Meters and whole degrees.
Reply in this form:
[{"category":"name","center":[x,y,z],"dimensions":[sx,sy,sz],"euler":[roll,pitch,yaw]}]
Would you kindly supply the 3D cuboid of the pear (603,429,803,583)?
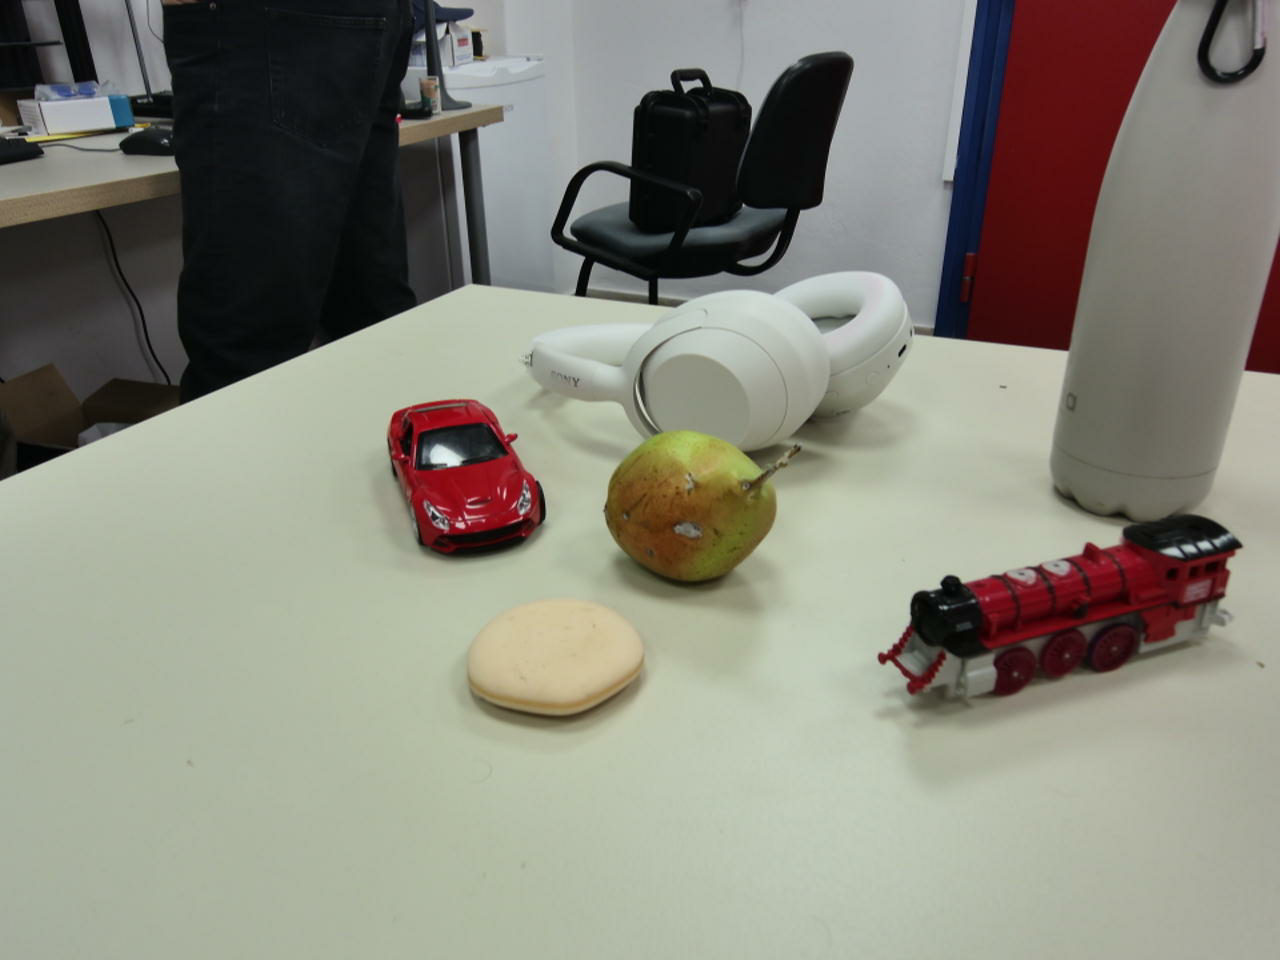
[{"category":"pear","center":[0.021,0.008,0.418],"dimensions":[0.068,0.069,0.070],"euler":[-5,24,-12]}]
